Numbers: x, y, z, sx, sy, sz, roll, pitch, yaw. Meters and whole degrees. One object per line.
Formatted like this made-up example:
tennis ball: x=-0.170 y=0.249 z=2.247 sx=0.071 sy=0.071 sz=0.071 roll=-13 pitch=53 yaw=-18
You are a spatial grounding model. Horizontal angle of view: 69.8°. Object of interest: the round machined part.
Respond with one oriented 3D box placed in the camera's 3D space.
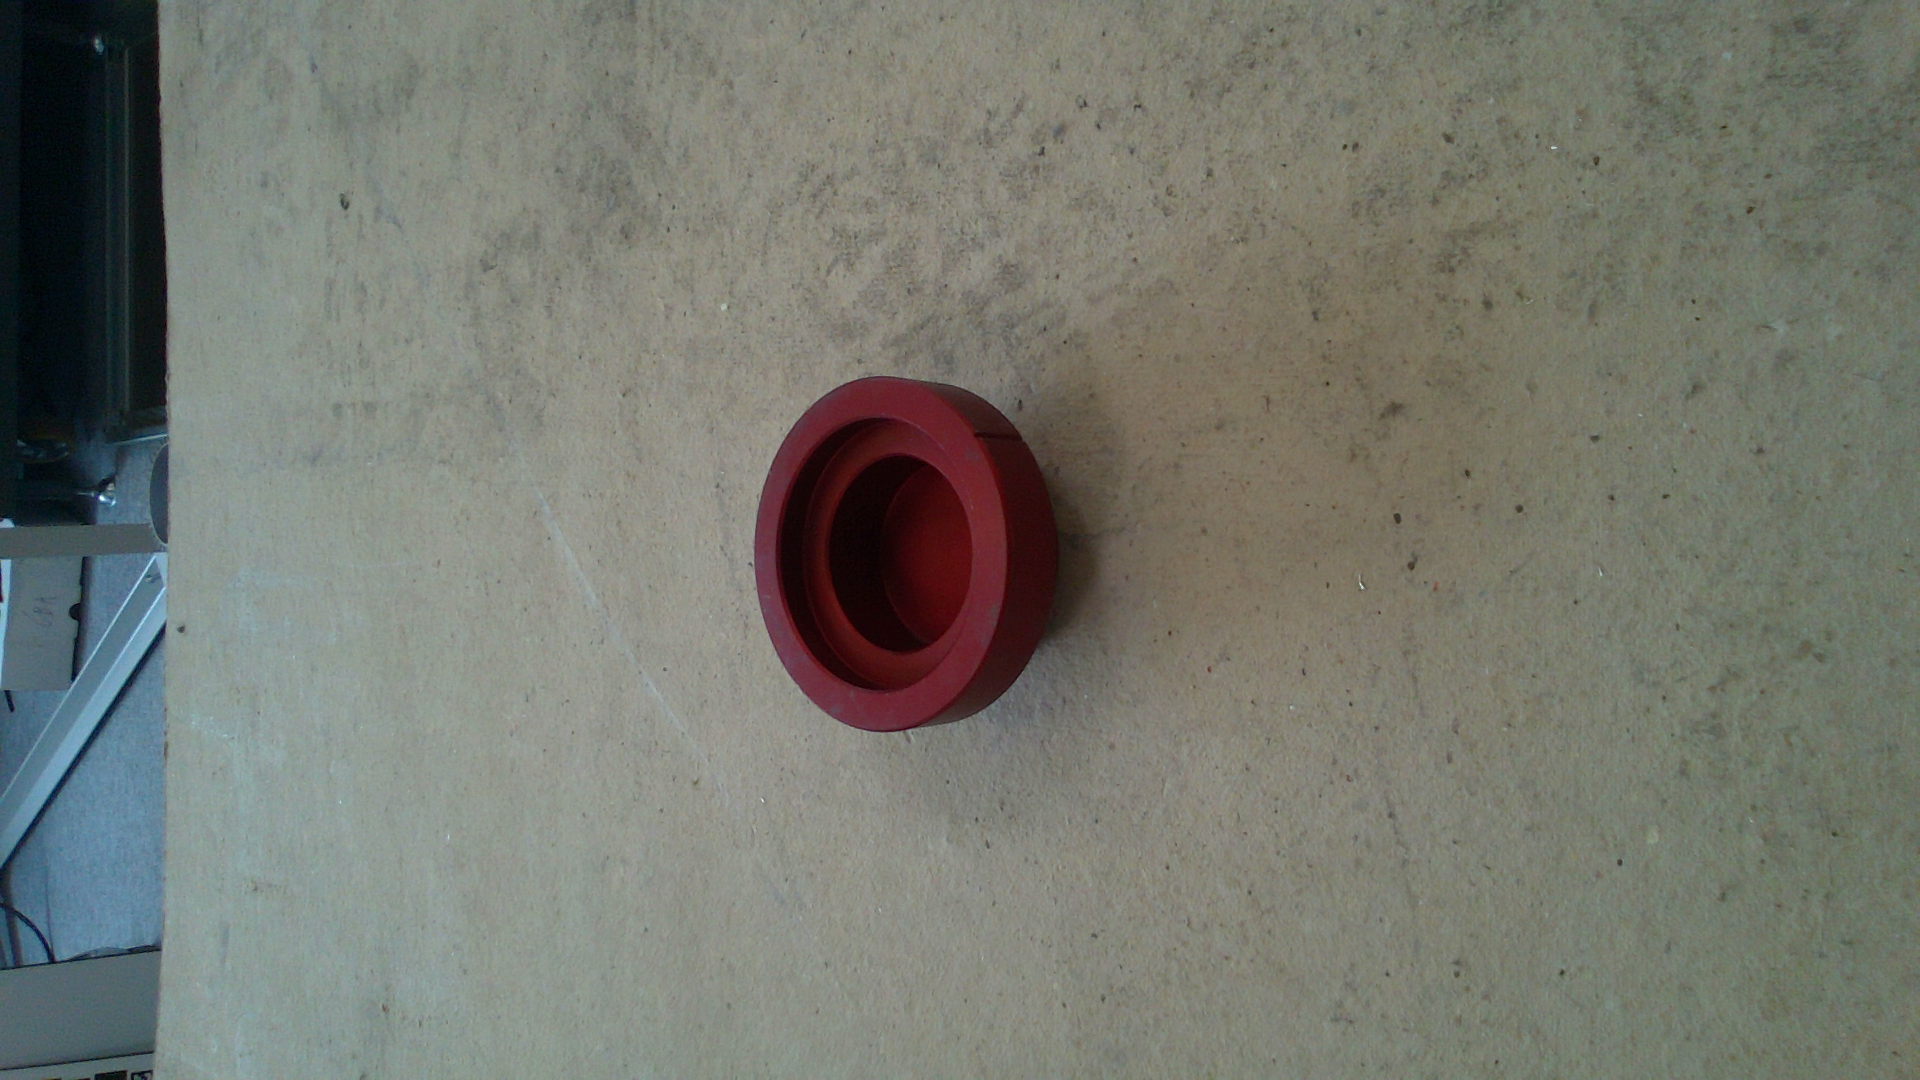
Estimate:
round machined part: x=-0.011 y=0.004 z=0.393 sx=0.098 sy=0.042 sz=0.098 roll=0 pitch=90 yaw=40
